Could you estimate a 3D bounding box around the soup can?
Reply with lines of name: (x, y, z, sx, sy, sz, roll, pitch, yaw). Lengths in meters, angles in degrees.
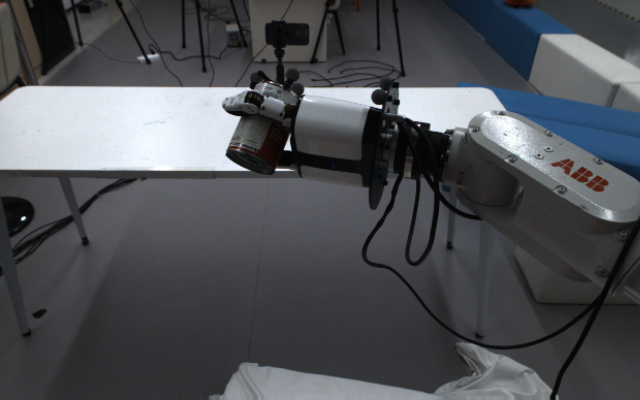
soup can: (-0.071, -0.092, 0.623, 0.067, 0.067, 0.101, 16, 75, 19)
